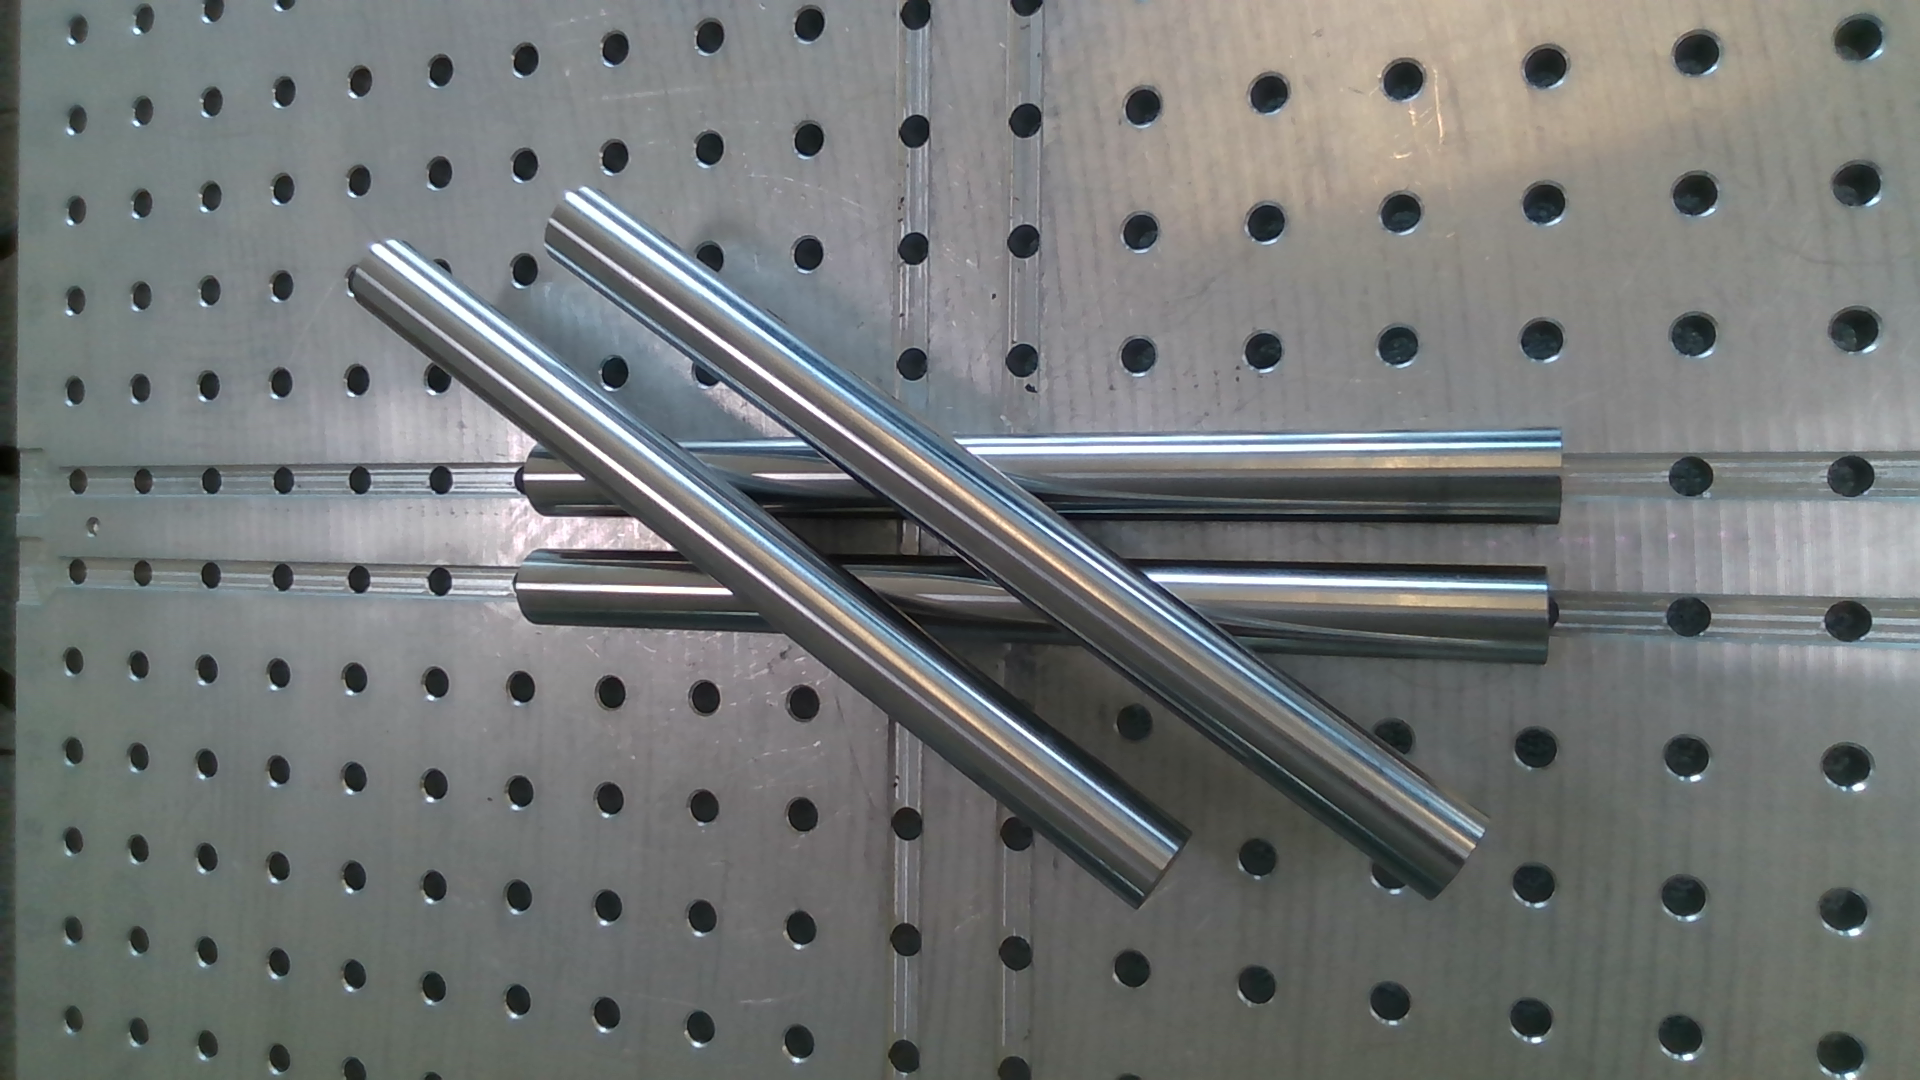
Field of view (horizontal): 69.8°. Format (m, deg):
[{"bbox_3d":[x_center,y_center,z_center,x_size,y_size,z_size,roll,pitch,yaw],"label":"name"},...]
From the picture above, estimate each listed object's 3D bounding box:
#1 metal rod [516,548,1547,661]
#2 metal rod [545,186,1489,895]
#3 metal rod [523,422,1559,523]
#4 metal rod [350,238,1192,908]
[{"bbox_3d":[0.005,0.016,0.395,0.300,0.025,0.025,1,90,20],"label":"metal rod"},{"bbox_3d":[0.002,-0.010,0.370,0.300,0.025,0.025,36,102,16],"label":"metal rod"},{"bbox_3d":[0.007,-0.019,0.394,0.300,0.025,0.025,1,90,20],"label":"metal rod"},{"bbox_3d":[-0.065,0.000,0.393,0.300,0.025,0.025,36,102,16],"label":"metal rod"}]
